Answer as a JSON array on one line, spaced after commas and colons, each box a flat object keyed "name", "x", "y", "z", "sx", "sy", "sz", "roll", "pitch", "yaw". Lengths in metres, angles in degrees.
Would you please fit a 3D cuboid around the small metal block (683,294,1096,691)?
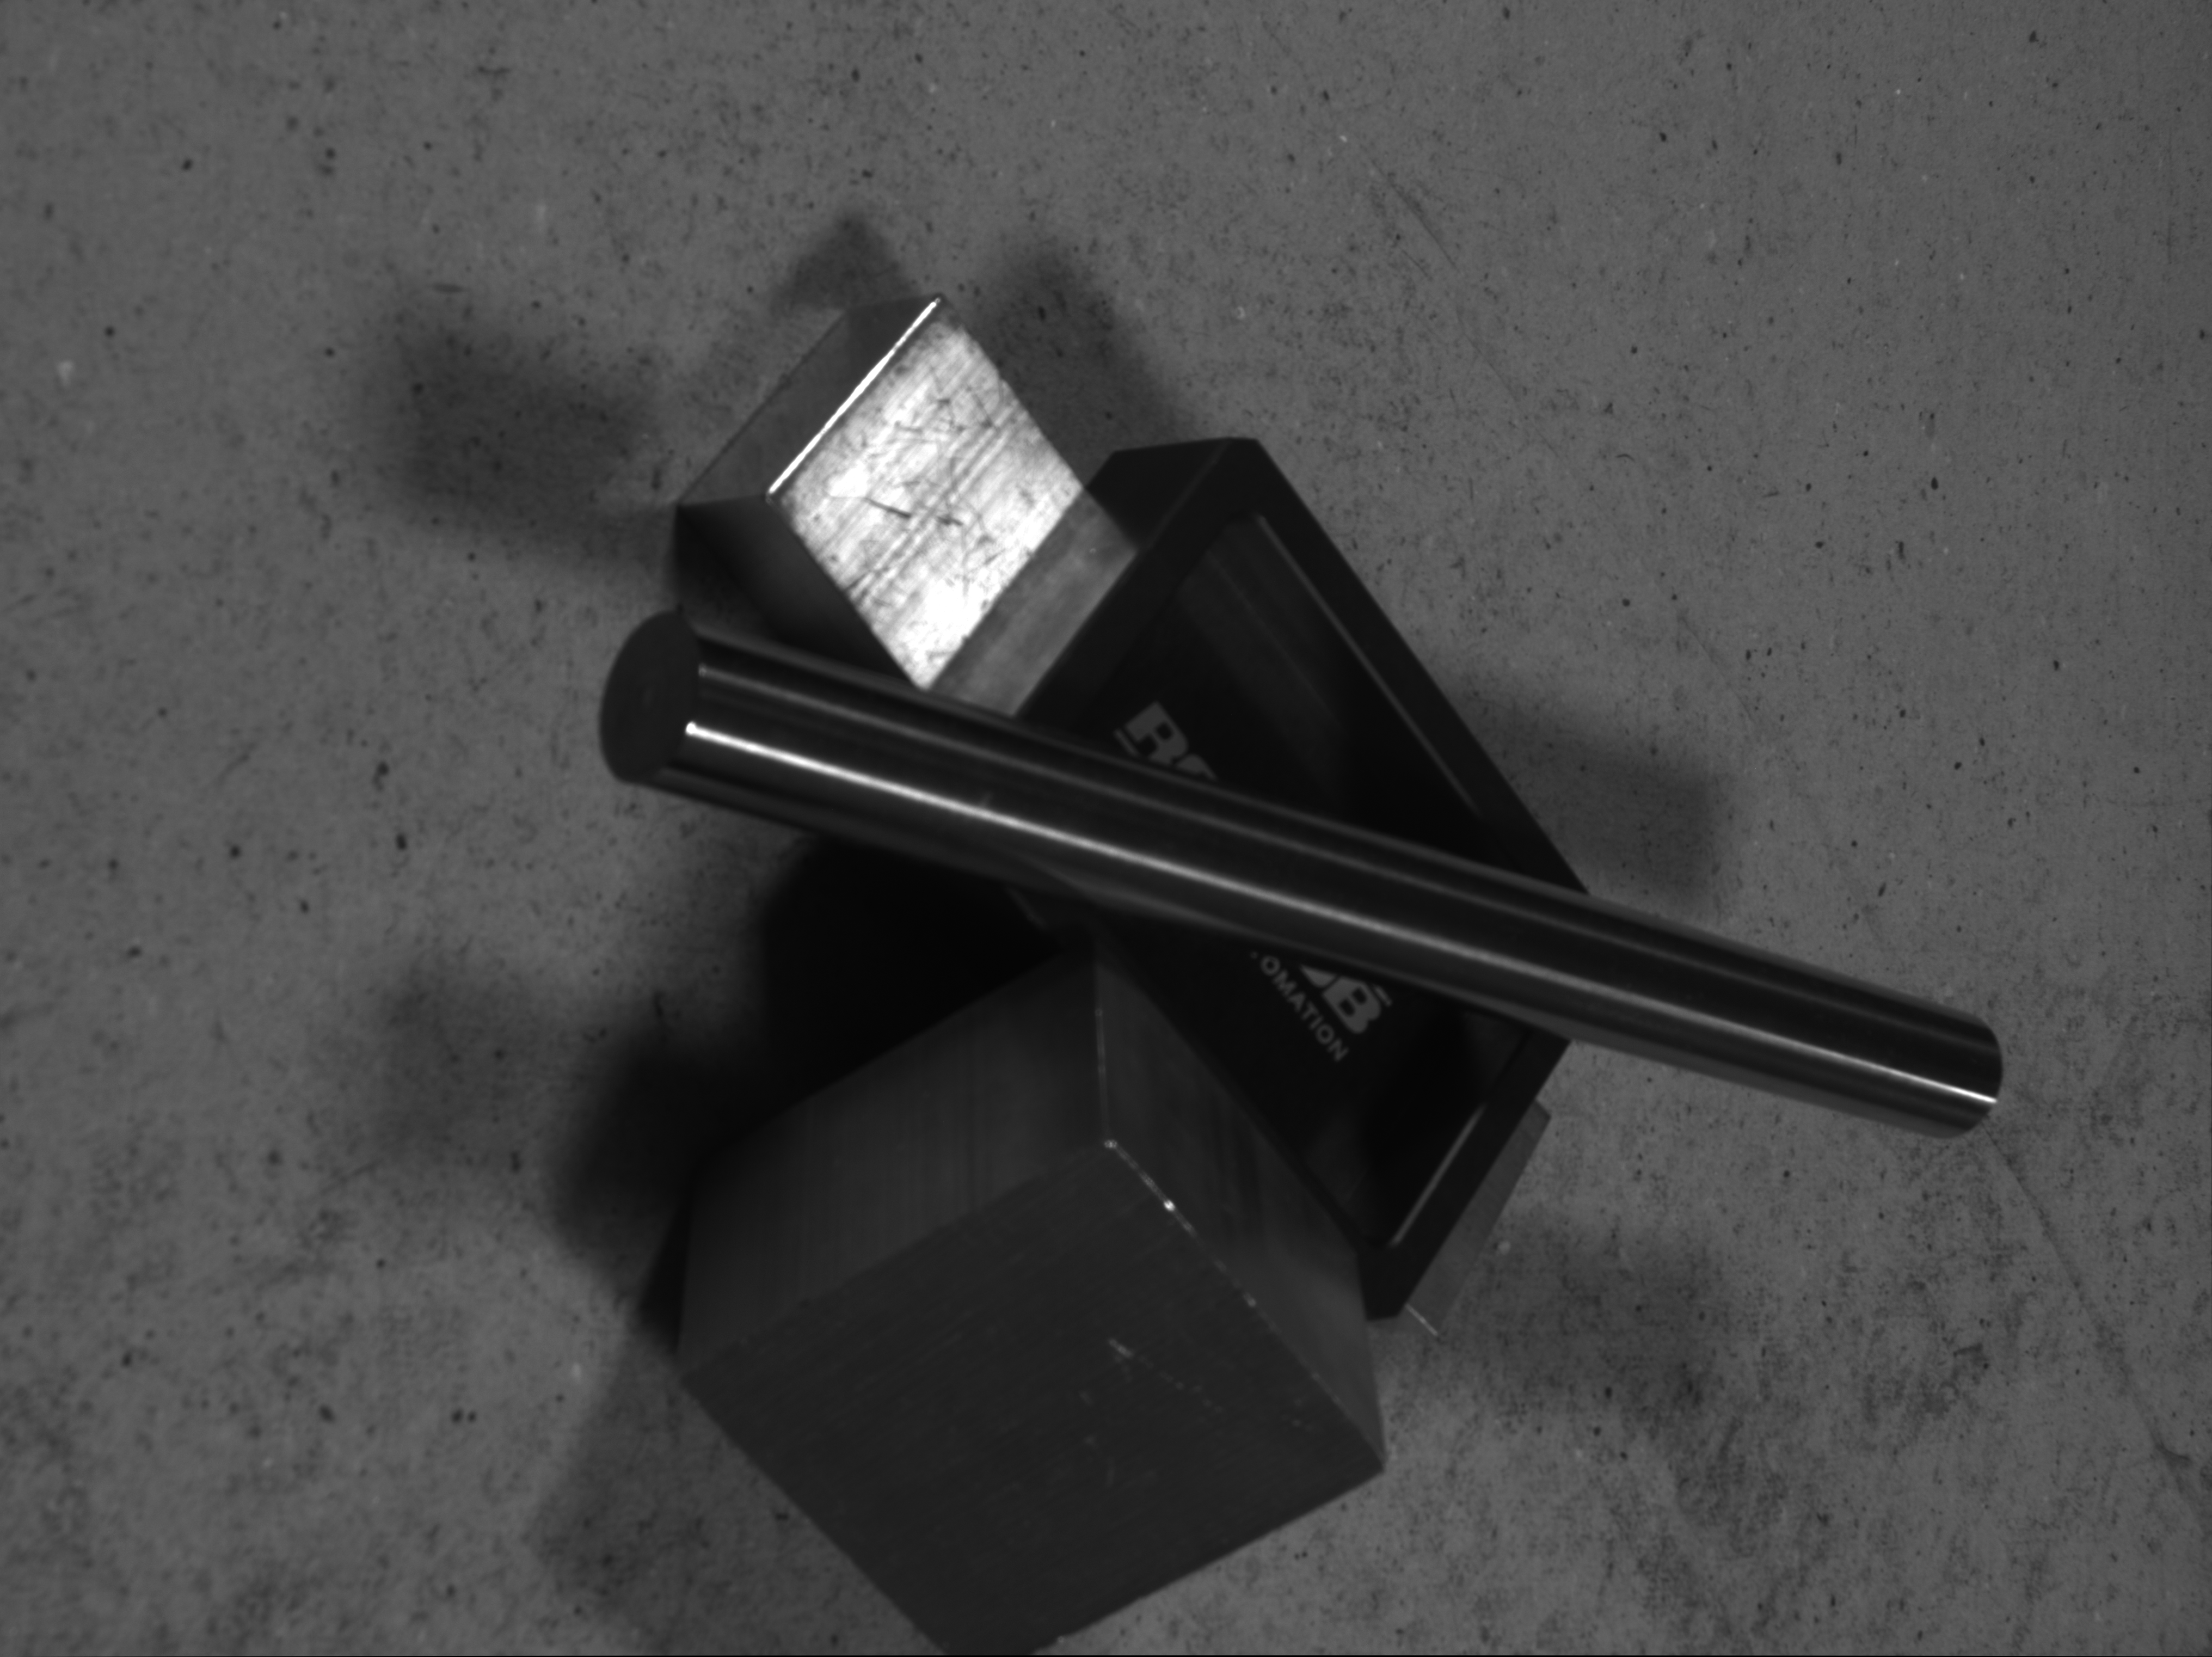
[{"name": "small metal block", "x": -0.034, "y": -0.052, "z": 0.609, "sx": 0.050, "sy": 0.025, "sz": 0.050, "roll": 52, "pitch": 60, "yaw": -27}]

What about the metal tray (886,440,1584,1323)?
[{"name": "metal tray", "x": 0.027, "y": 0.010, "z": 0.623, "sx": 0.130, "sy": 0.030, "sz": 0.090, "roll": 51, "pitch": 60, "yaw": -27}]

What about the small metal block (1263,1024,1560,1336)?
[{"name": "small metal block", "x": 0.051, "y": 0.058, "z": 0.679, "sx": 0.050, "sy": 0.025, "sz": 0.050, "roll": 46, "pitch": 63, "yaw": -30}]

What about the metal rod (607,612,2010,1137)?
[{"name": "metal rod", "x": 0.050, "y": 0.014, "z": 0.607, "sx": 0.301, "sy": 0.025, "sz": 0.025, "roll": 16, "pitch": 80, "yaw": -39}]

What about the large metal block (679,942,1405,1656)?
[{"name": "large metal block", "x": -0.010, "y": 0.078, "z": 0.583, "sx": 0.080, "sy": 0.080, "sz": 0.050, "roll": 51, "pitch": 19, "yaw": -28}]
